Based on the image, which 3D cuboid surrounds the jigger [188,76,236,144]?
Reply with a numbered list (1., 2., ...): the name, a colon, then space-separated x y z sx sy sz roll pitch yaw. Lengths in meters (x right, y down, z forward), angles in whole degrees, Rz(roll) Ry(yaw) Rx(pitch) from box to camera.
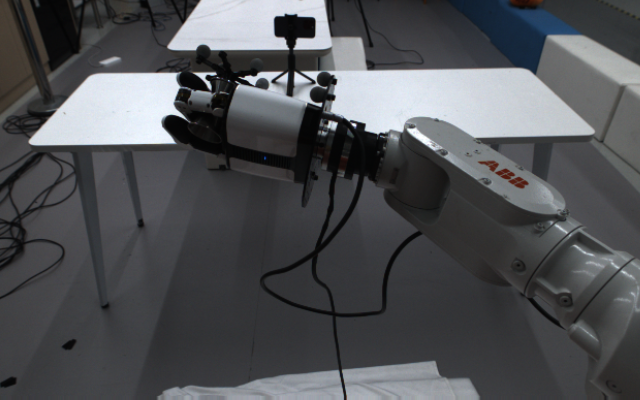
1. jigger: -0.123 -0.108 0.584 0.043 0.043 0.071 12 71 14
